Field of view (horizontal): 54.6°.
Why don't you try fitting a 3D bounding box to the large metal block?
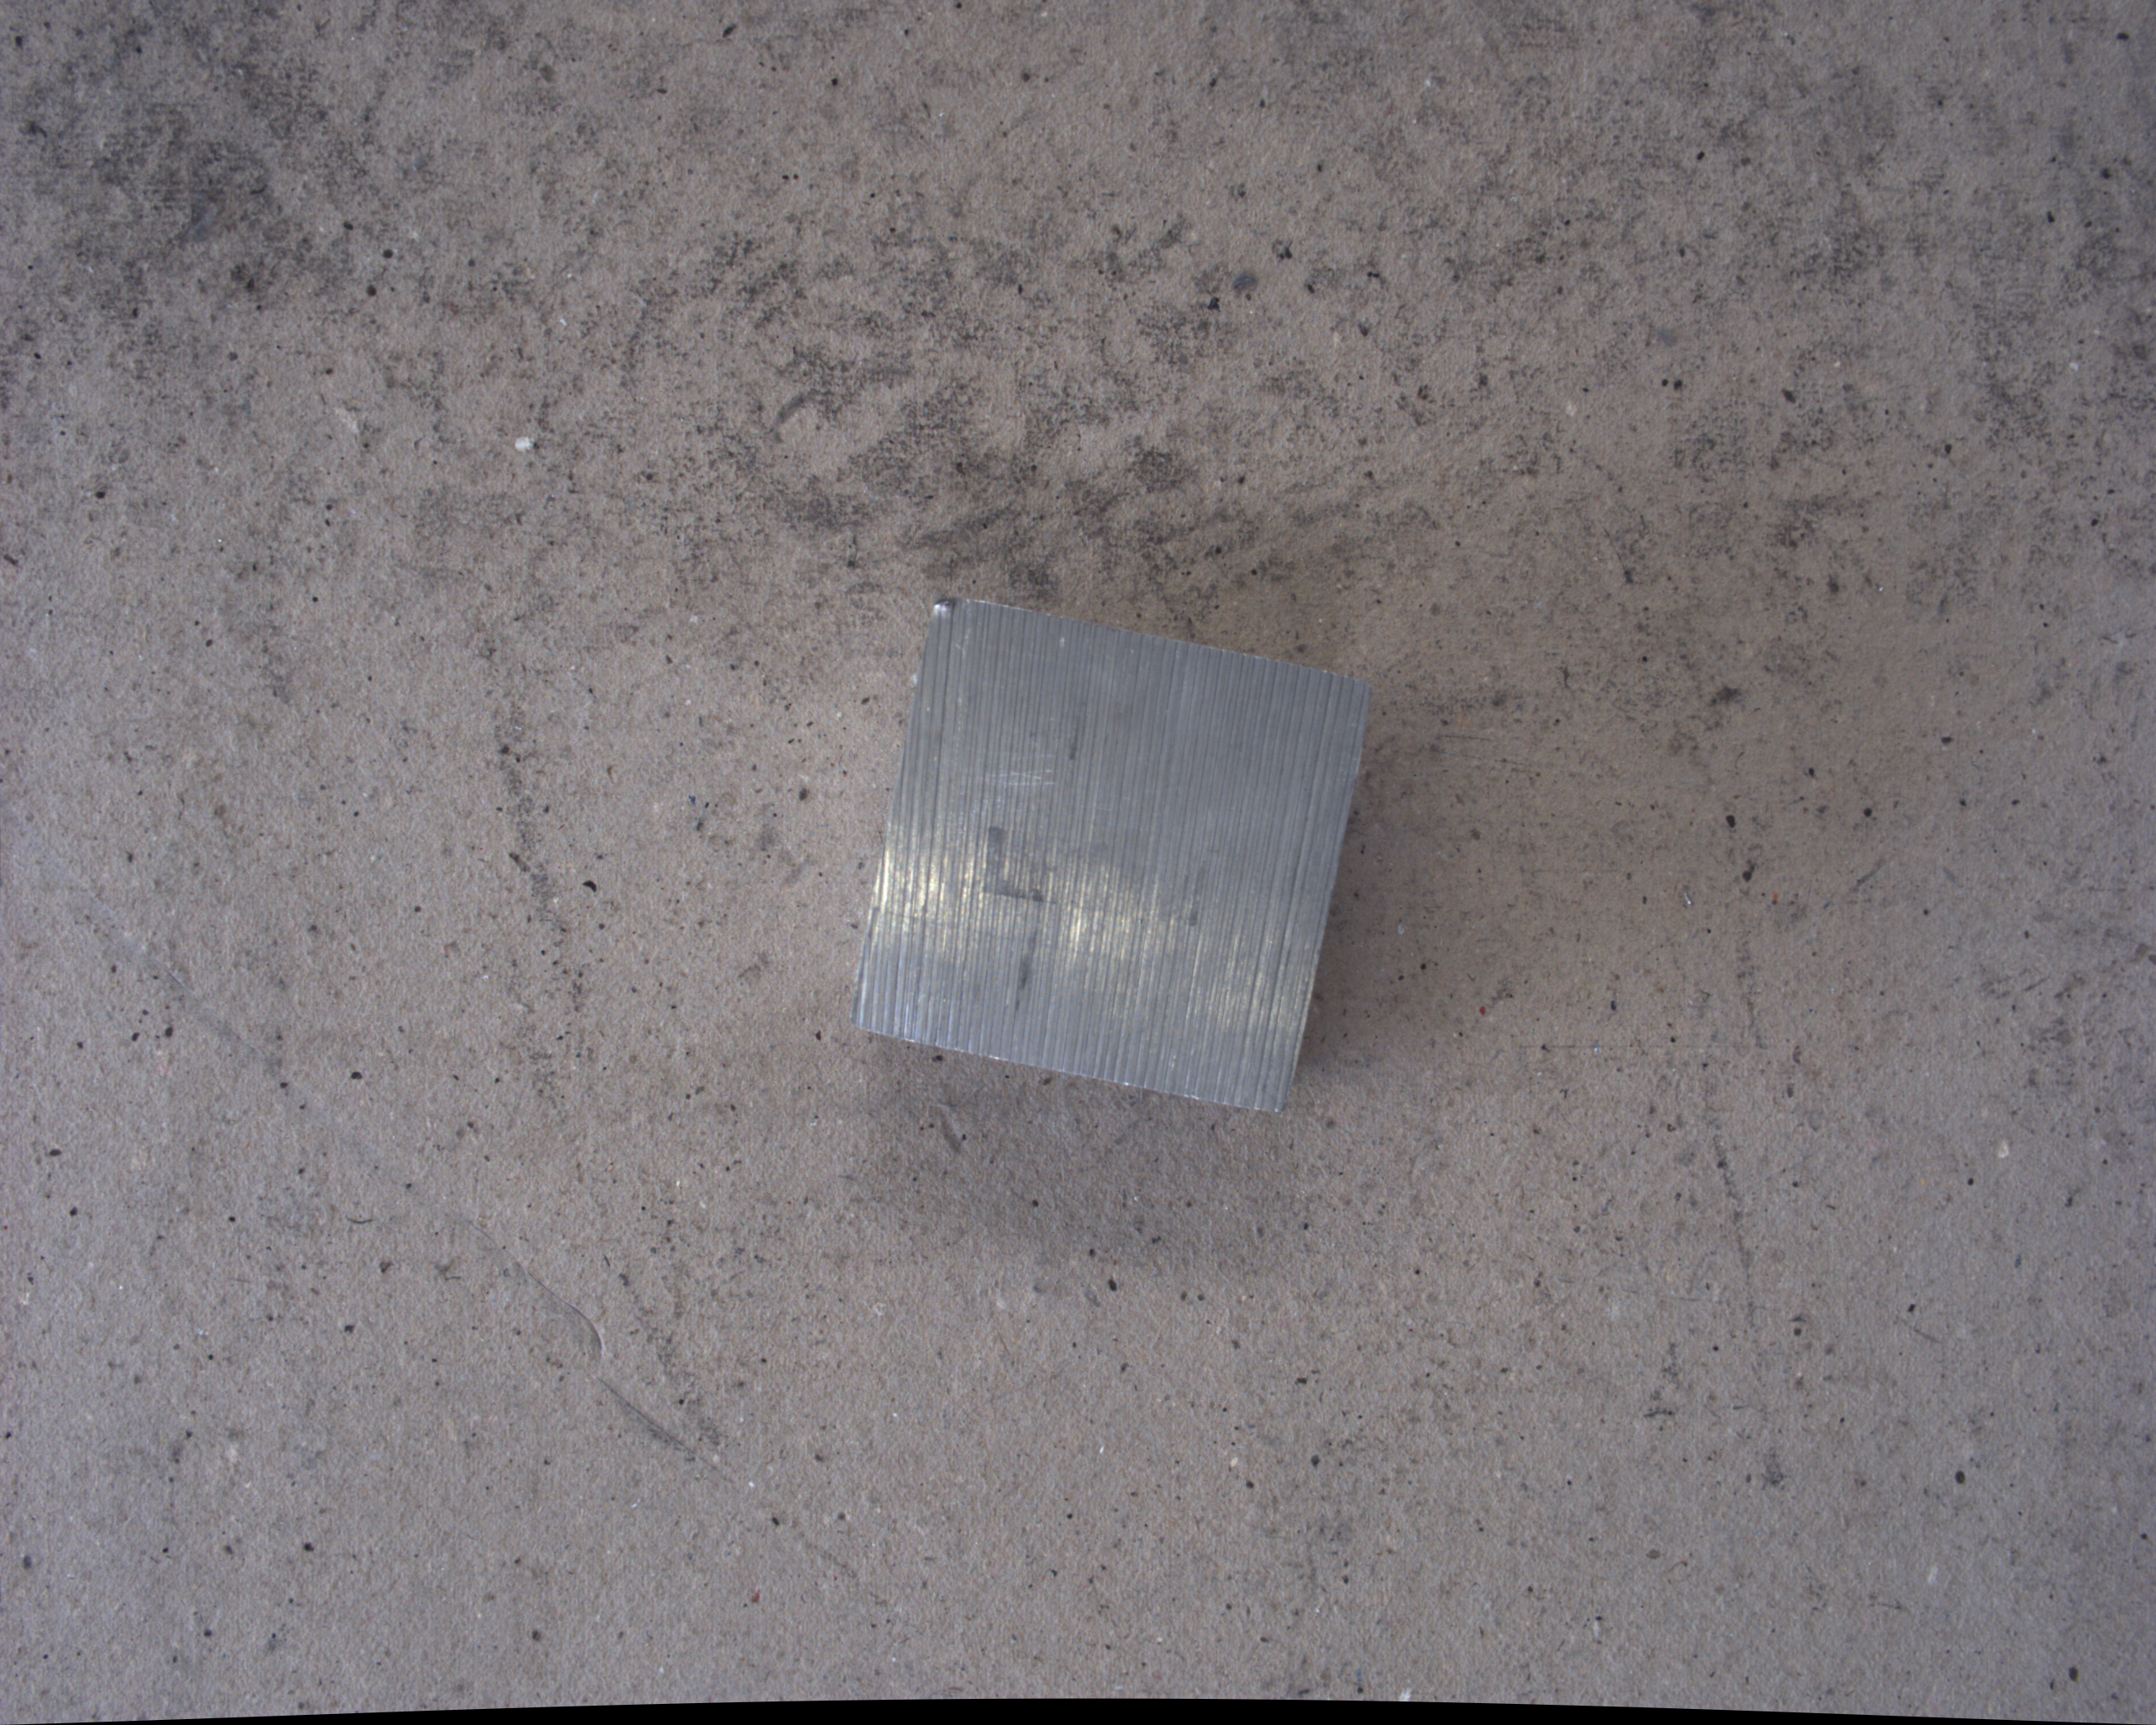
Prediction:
[{"bbox_3d":[0.005,-0.001,0.399,0.080,0.050,0.080,11,90,-1],"label":"large metal block"}]
